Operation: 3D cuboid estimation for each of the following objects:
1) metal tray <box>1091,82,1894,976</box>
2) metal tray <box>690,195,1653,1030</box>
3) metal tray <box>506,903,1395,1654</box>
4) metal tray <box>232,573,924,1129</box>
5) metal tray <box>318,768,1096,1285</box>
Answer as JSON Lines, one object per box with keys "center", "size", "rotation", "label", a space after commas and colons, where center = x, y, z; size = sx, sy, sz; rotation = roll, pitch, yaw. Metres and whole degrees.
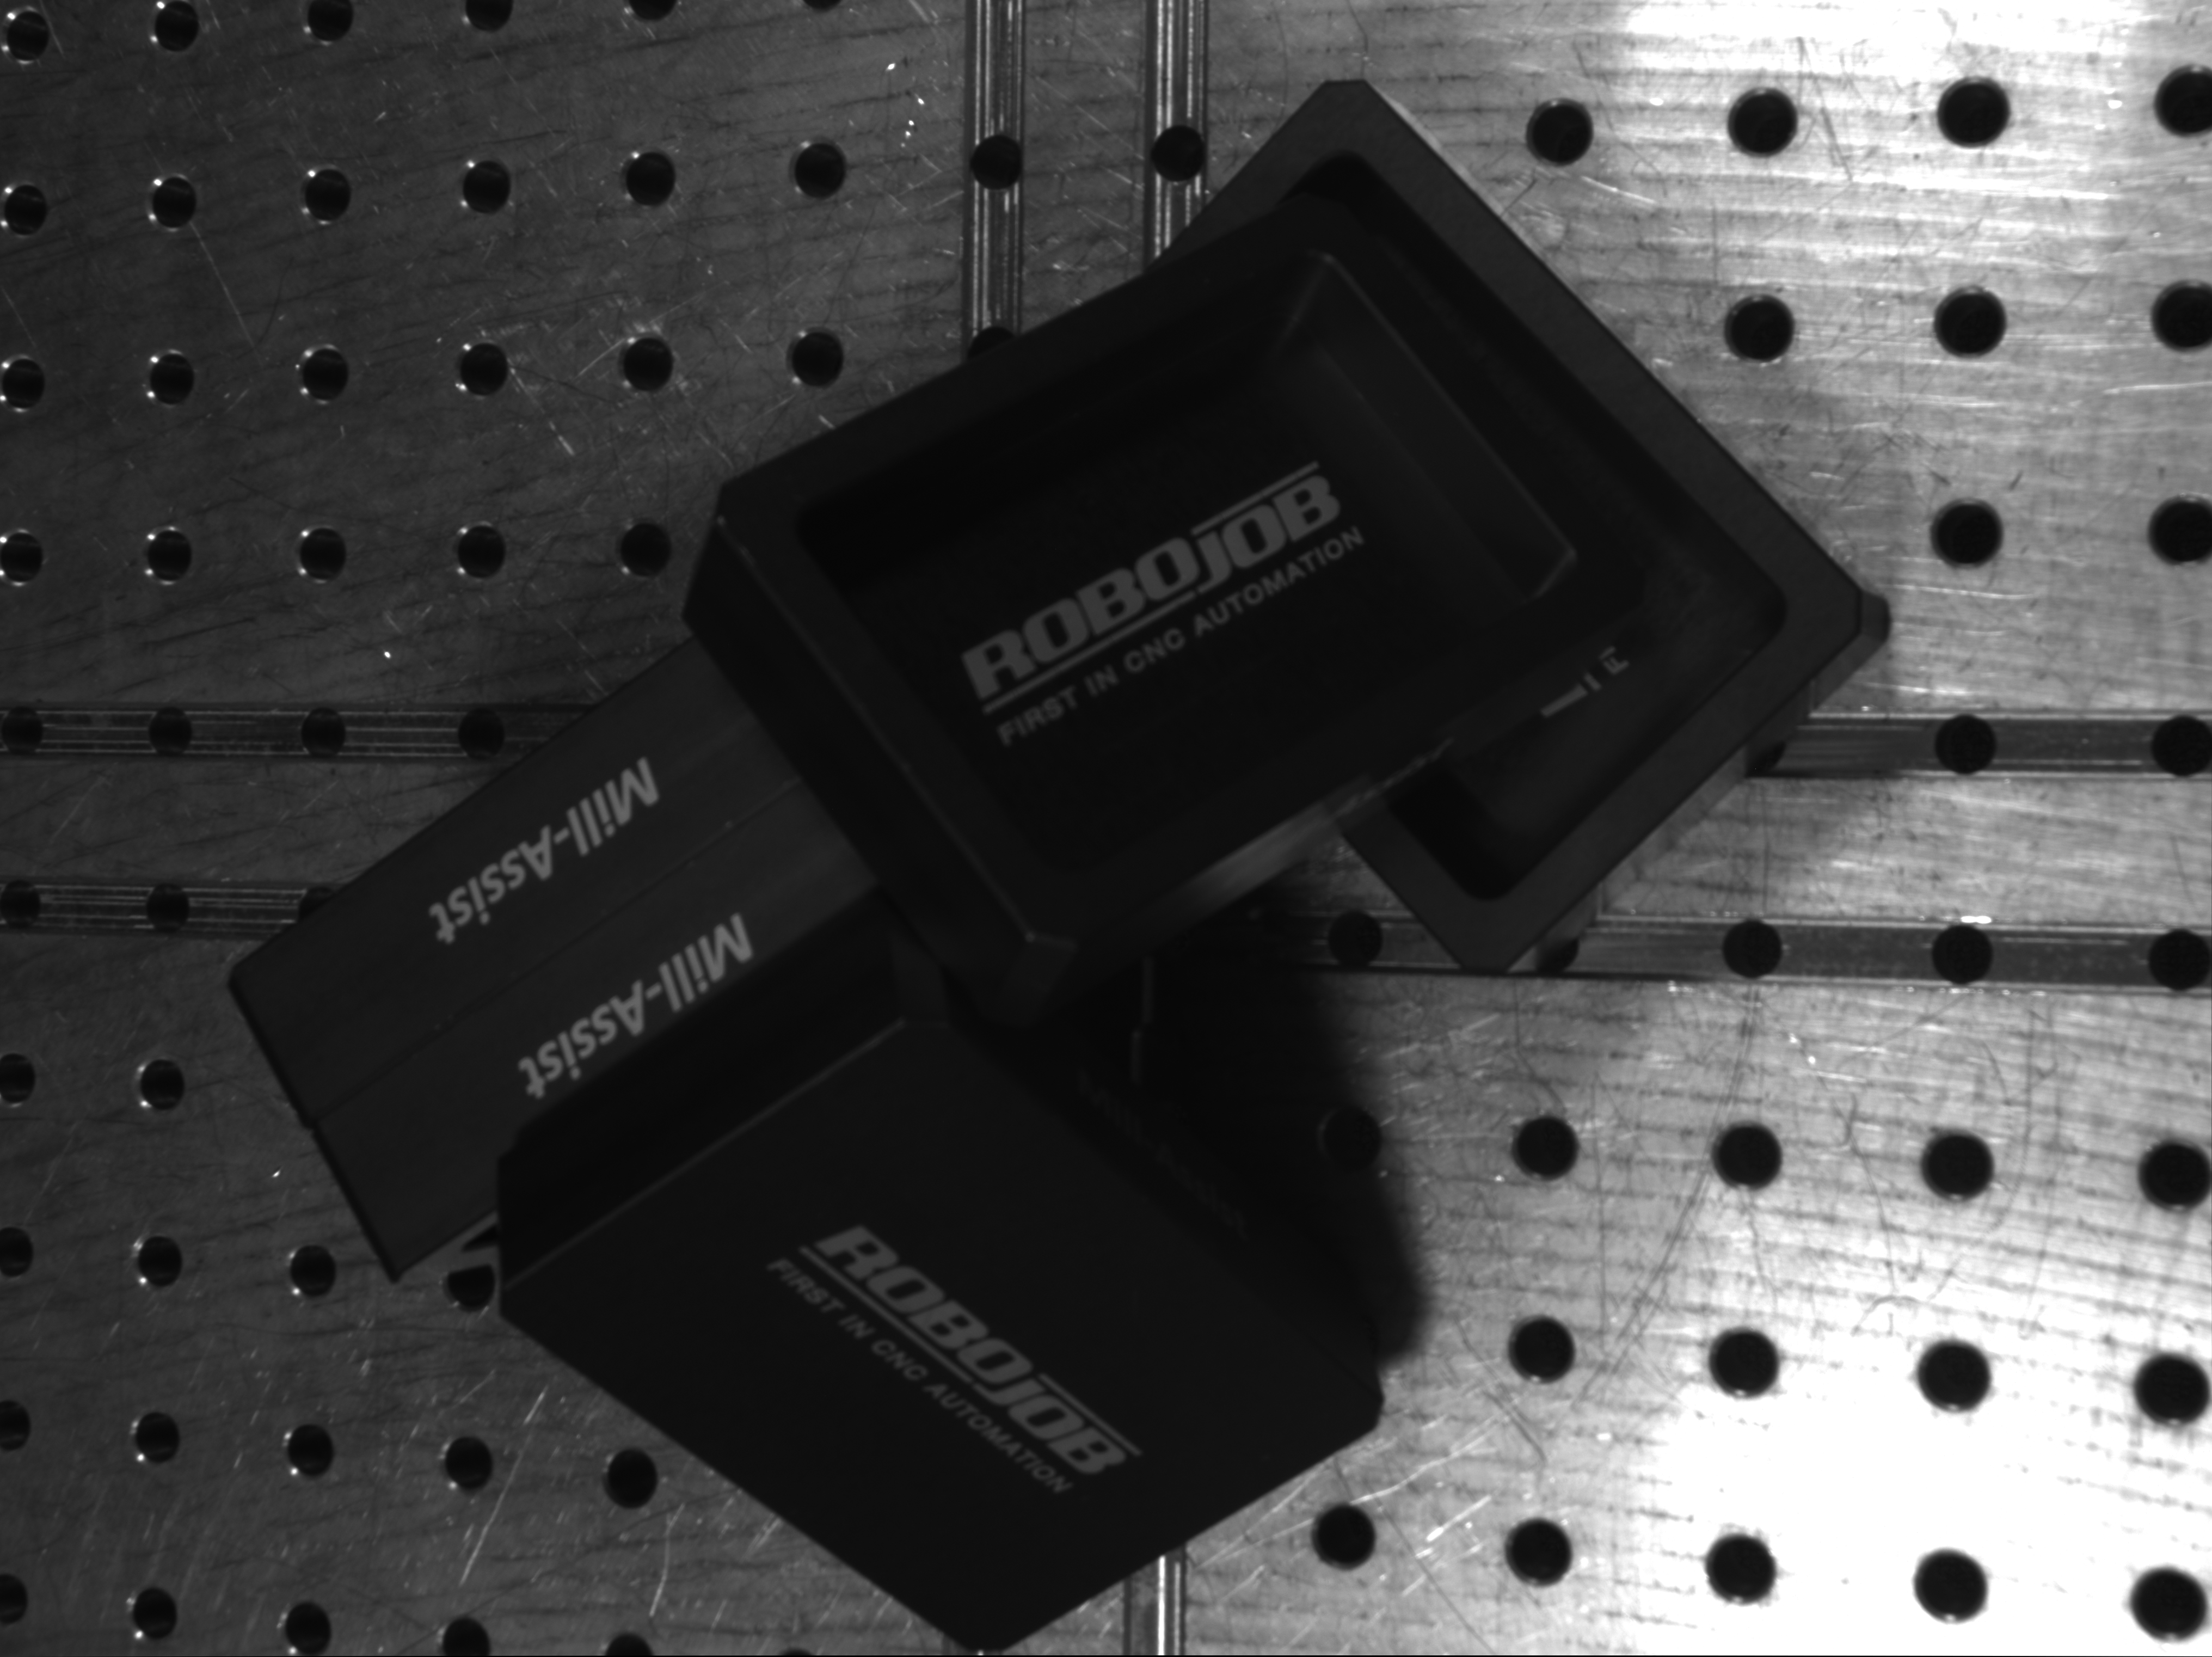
{"center": [0.058, -0.050, 0.622], "size": [0.090, 0.030, 0.130], "rotation": [-45, 76, 14], "label": "metal tray"}
{"center": [0.012, -0.037, 0.582], "size": [0.130, 0.030, 0.090], "rotation": [-31, 76, -29], "label": "metal tray"}
{"center": [-0.024, 0.078, 0.606], "size": [0.090, 0.130, 0.030], "rotation": [-34, 37, 17], "label": "metal tray"}
{"center": [-0.076, 0.004, 0.639], "size": [0.130, 0.090, 0.030], "rotation": [-34, 79, 16], "label": "metal tray"}
{"center": [-0.060, 0.029, 0.632], "size": [0.130, 0.090, 0.030], "rotation": [-34, 79, 16], "label": "metal tray"}
